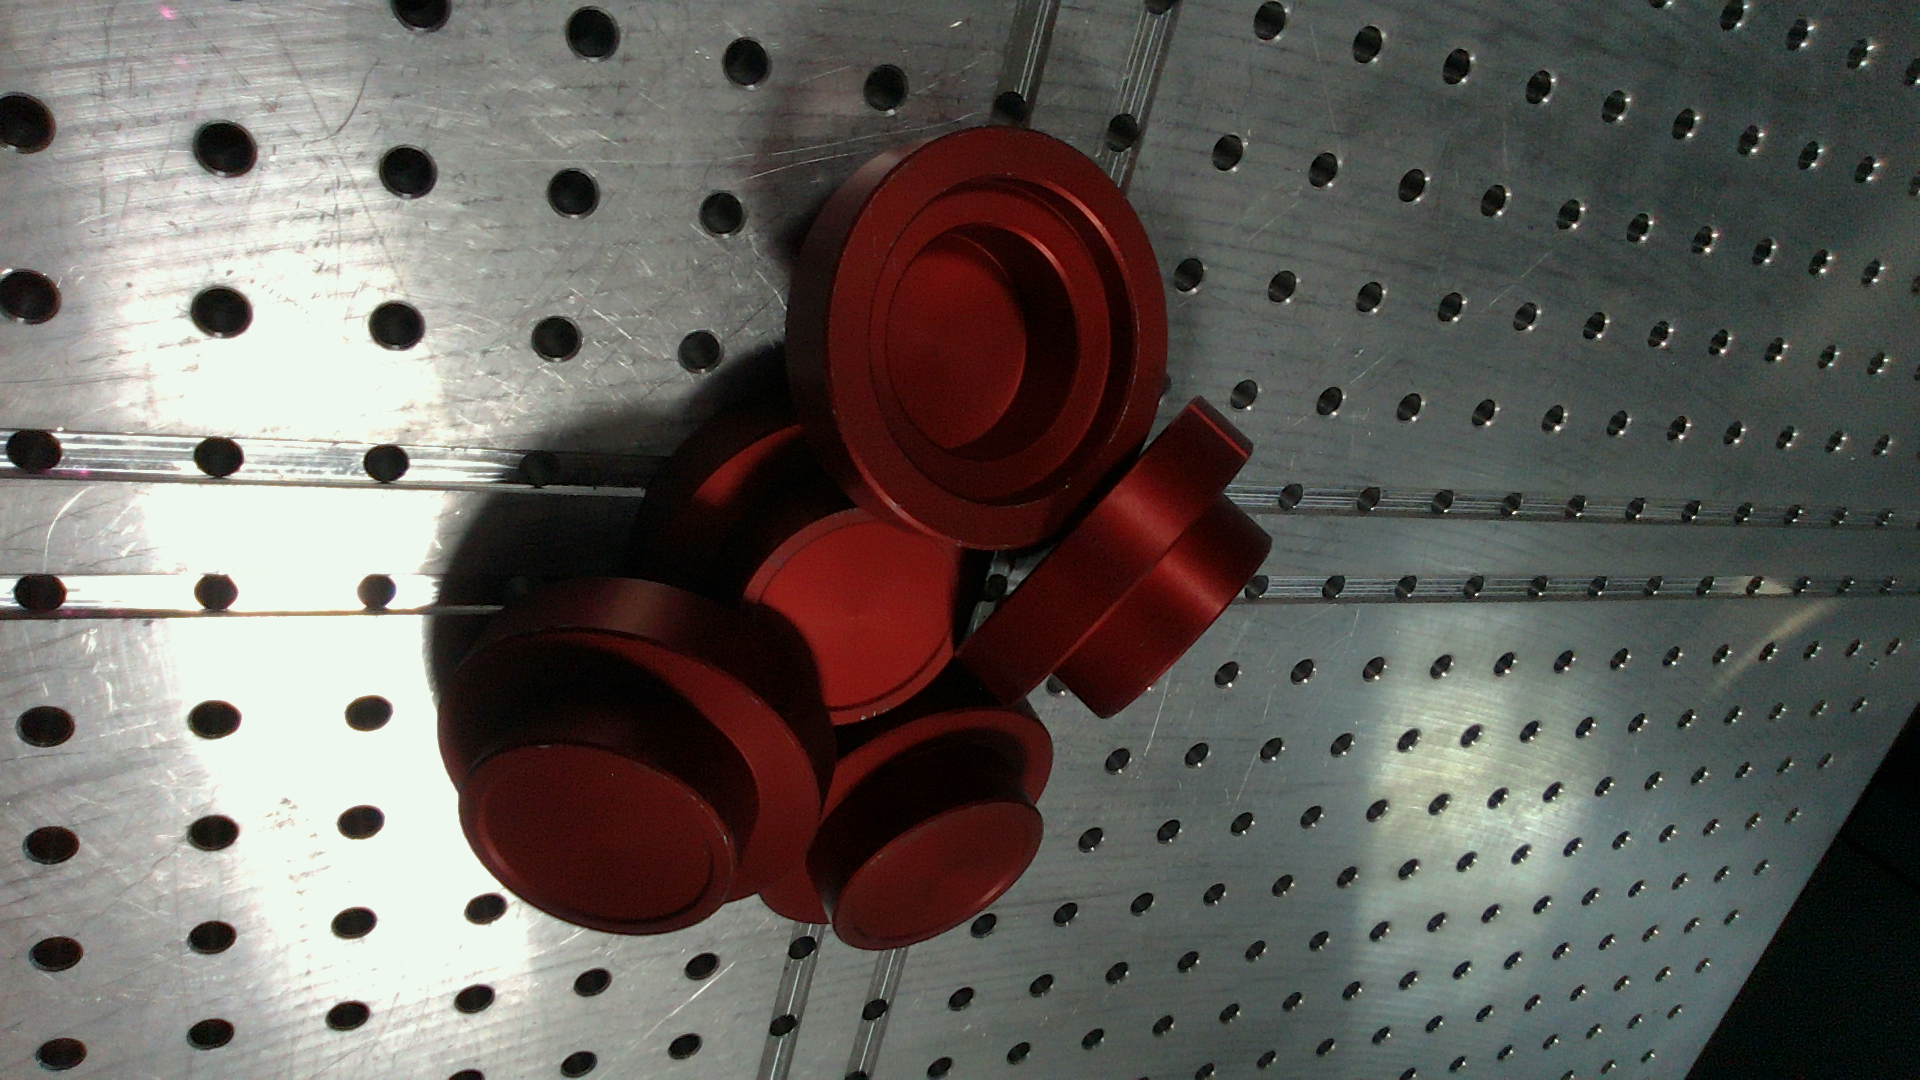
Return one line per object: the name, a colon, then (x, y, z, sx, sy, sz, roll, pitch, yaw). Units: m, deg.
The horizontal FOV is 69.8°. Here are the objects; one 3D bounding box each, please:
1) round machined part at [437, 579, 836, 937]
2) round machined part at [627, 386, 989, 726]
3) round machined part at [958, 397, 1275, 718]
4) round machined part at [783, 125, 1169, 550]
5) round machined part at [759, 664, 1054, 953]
round machined part: (-0.083, 0.061, 0.343, 0.098, 0.042, 0.098, 4, 127, 6)
round machined part: (-0.036, 0.011, 0.367, 0.098, 0.042, 0.098, -14, 124, -21)
round machined part: (0.047, 0.010, 0.375, 0.042, 0.098, 0.098, 43, 95, 2)
round machined part: (0.001, -0.049, 0.337, 0.098, 0.042, 0.098, -6, 100, -32)
round machined part: (-0.014, 0.085, 0.409, 0.098, 0.042, 0.098, -20, 139, -18)
